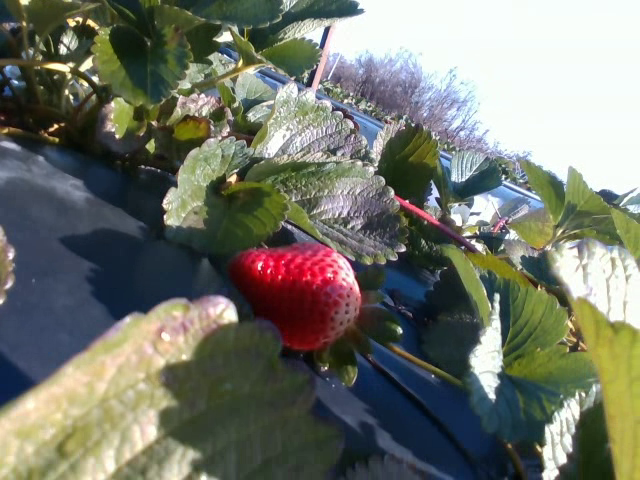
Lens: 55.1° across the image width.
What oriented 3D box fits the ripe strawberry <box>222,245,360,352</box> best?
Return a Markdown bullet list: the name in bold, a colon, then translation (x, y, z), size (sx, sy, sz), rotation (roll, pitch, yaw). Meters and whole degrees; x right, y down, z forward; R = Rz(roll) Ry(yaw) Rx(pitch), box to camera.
- **ripe strawberry**: translation (-0.009, 0.017, 0.189), size (0.055, 0.042, 0.044), rotation (30, -38, -34)
